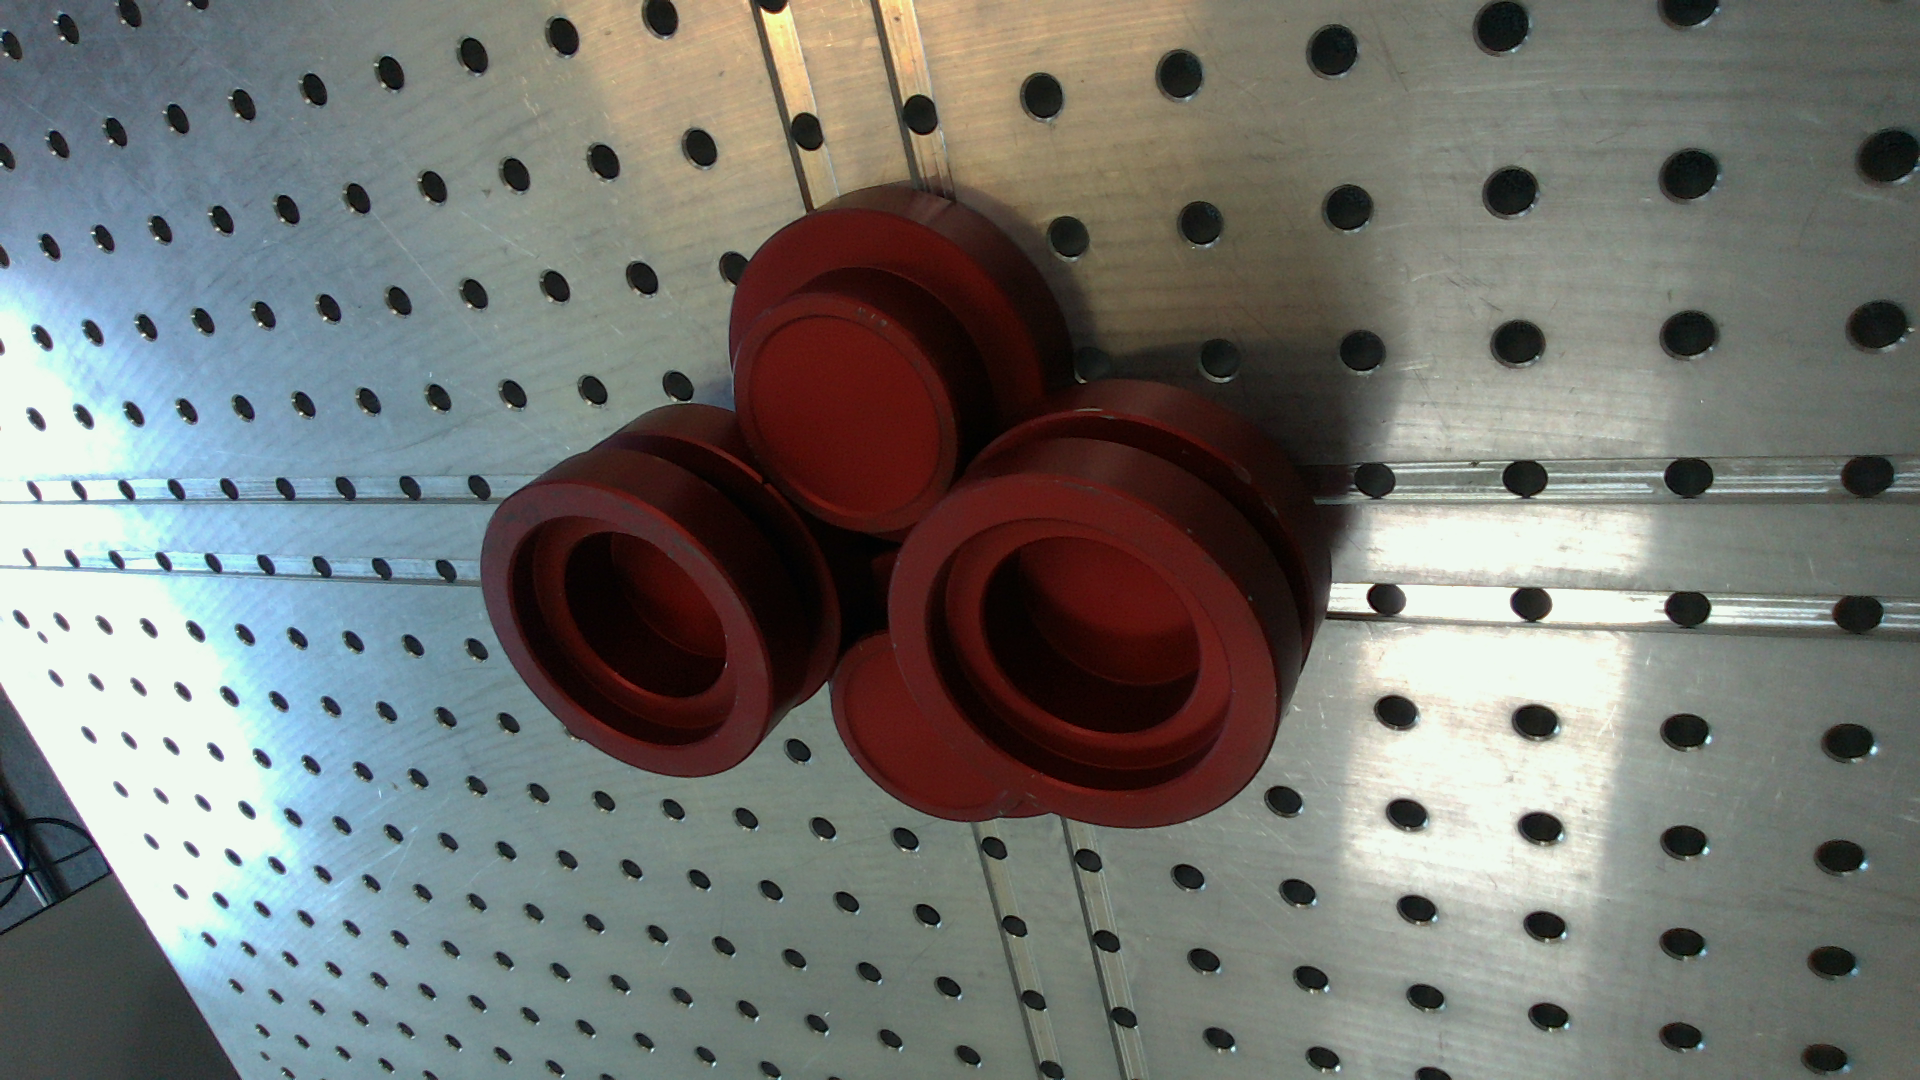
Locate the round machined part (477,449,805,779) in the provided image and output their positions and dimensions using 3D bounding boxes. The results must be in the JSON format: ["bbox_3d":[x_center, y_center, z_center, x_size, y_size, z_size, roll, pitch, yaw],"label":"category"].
[{"bbox_3d":[-0.087,0.018,0.400,0.098,0.042,0.098,13,124,21],"label":"round machined part"}]

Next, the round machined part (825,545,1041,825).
[{"bbox_3d":[-0.001,0.046,0.413,0.098,0.042,0.098,13,124,21],"label":"round machined part"}]

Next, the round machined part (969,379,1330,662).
[{"bbox_3d":[0.048,0.003,0.360,0.098,0.042,0.098,13,124,21],"label":"round machined part"}]

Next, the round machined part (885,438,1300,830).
[{"bbox_3d":[0.034,0.019,0.336,0.098,0.042,0.098,13,124,21],"label":"round machined part"}]

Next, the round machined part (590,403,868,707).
[{"bbox_3d":[-0.071,0.003,0.424,0.098,0.042,0.098,13,124,21],"label":"round machined part"}]

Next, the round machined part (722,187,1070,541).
[{"bbox_3d":[-0.023,-0.041,0.371,0.098,0.042,0.098,13,124,21],"label":"round machined part"}]
